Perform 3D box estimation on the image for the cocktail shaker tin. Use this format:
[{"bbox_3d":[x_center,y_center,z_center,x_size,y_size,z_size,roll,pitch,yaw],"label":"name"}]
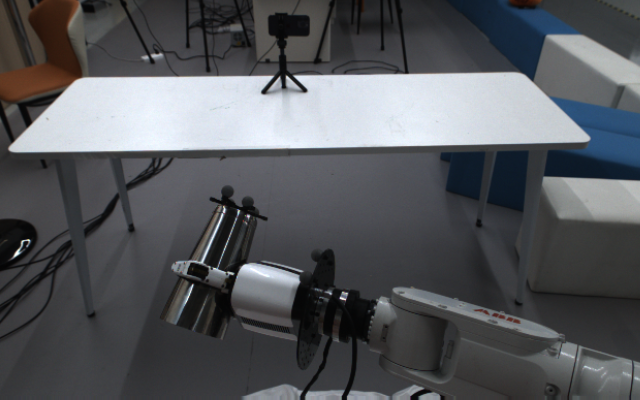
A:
[{"bbox_3d":[-0.146,0.099,0.678,0.093,0.093,0.170,14,73,16],"label":"cocktail shaker tin"}]
